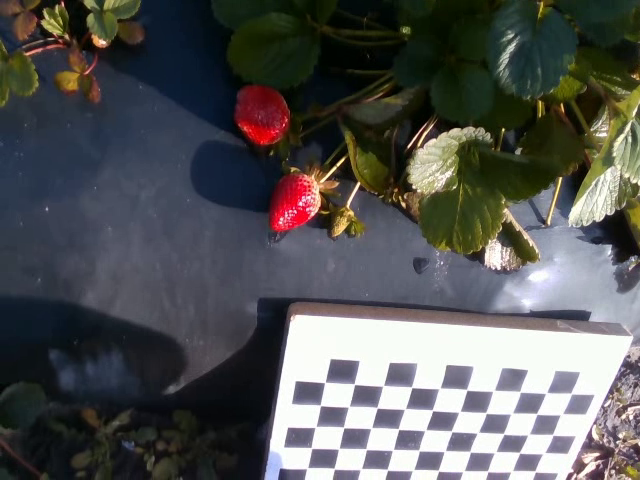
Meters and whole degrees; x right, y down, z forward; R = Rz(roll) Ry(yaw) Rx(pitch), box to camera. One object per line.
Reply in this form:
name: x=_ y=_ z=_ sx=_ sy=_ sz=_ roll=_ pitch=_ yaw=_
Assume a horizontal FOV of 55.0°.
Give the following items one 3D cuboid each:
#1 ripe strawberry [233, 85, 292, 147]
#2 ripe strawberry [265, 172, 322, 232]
ripe strawberry: x=-0.043 y=-0.092 z=0.451 sx=0.054 sy=0.048 sz=0.039 roll=12 pitch=24 yaw=-40
ripe strawberry: x=-0.021 y=-0.026 z=0.447 sx=0.038 sy=0.053 sz=0.043 roll=-5 pitch=-48 yaw=51
